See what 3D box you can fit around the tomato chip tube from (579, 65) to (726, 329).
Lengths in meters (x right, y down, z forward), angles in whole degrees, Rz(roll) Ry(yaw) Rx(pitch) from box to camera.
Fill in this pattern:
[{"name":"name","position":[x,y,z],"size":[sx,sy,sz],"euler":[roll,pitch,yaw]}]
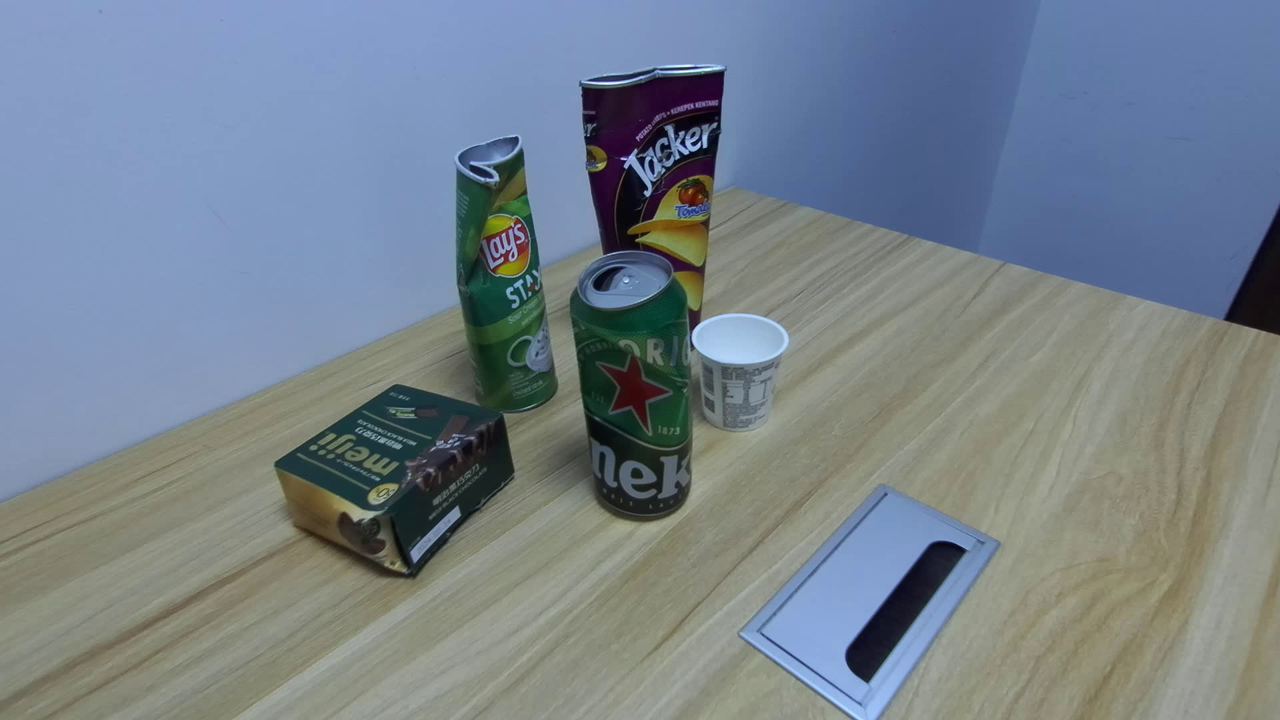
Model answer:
[{"name":"tomato chip tube","position":[0.012,-0.114,0.584],"size":[0.090,0.236,0.078],"euler":[12,35,19]}]

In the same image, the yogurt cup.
[{"name":"yogurt cup","position":[0.074,0.012,0.537],"size":[0.072,0.068,0.072],"euler":[-2,33,2]}]

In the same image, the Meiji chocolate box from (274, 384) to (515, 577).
[{"name":"Meiji chocolate box","position":[-0.163,0.074,0.476],"size":[0.115,0.058,0.123],"euler":[13,35,27]}]

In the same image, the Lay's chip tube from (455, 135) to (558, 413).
[{"name":"Lay's chip tube","position":[-0.105,-0.059,0.539],"size":[0.069,0.201,0.077],"euler":[-12,36,-15]}]

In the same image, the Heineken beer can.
[{"name":"Heineken beer can","position":[-0.002,0.022,0.440],"size":[0.069,0.168,0.068],"euler":[-7,34,-3]}]
